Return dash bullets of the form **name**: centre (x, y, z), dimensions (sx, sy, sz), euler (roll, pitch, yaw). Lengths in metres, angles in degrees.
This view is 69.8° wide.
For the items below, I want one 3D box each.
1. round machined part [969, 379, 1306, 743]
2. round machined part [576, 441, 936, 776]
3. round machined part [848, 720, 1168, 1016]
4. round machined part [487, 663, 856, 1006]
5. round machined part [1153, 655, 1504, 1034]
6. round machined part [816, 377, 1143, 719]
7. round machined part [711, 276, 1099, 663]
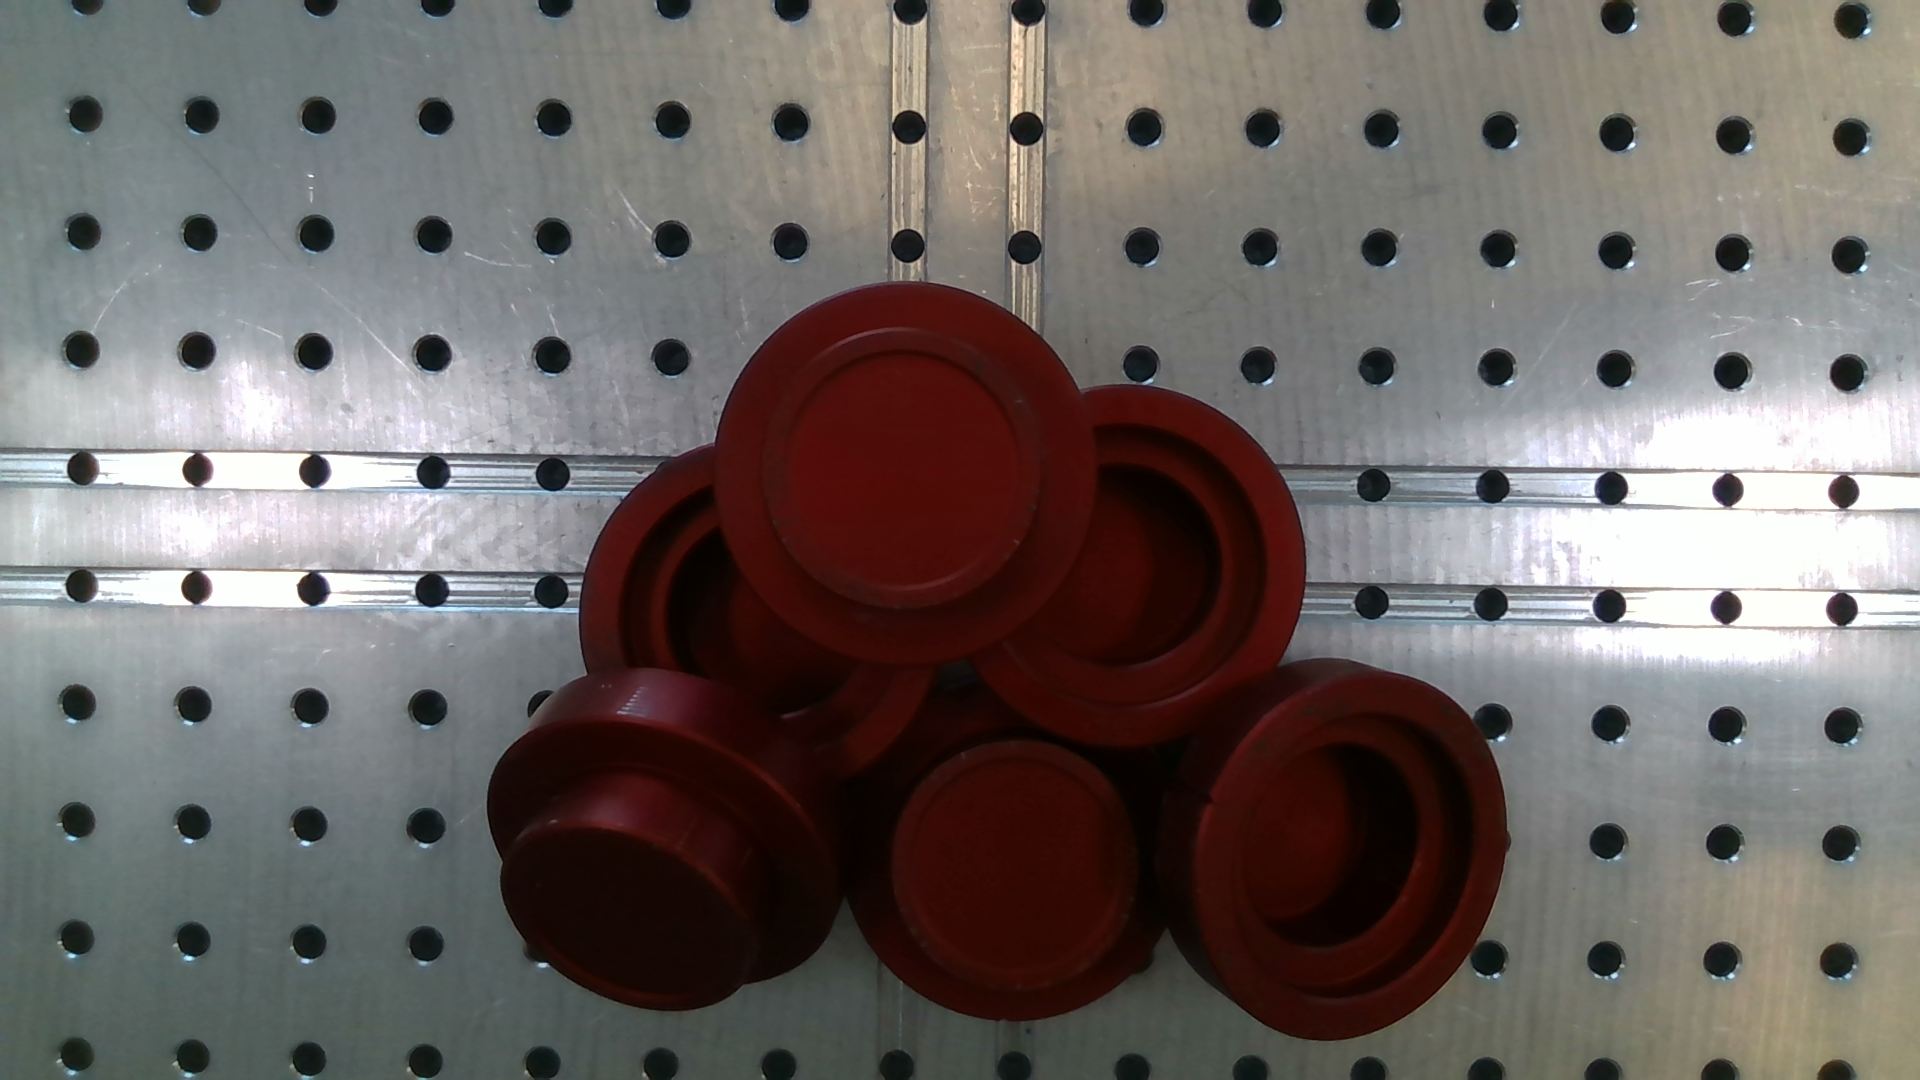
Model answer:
- **round machined part**: centre (0.044, 0.006, 0.389), dimensions (0.098, 0.042, 0.098), euler (0, 90, 0)
- **round machined part**: centre (-0.054, 0.020, 0.389), dimensions (0.098, 0.042, 0.098), euler (0, 90, 0)
- **round machined part**: centre (0.014, 0.086, 0.389), dimensions (0.098, 0.042, 0.098), euler (0, 90, 0)
- **round machined part**: centre (-0.080, 0.084, 0.365), dimensions (0.098, 0.042, 0.098), euler (7, 123, 11)
- **round machined part**: centre (0.096, 0.080, 0.378), dimensions (0.098, 0.042, 0.098), euler (-3, 97, -21)
- **round machined part**: centre (0.000, -0.001, 0.389), dimensions (0.098, 0.042, 0.098), euler (0, 90, 0)
- **round machined part**: centre (-0.014, -0.018, 0.347), dimensions (0.098, 0.042, 0.098), euler (0, 90, 0)
